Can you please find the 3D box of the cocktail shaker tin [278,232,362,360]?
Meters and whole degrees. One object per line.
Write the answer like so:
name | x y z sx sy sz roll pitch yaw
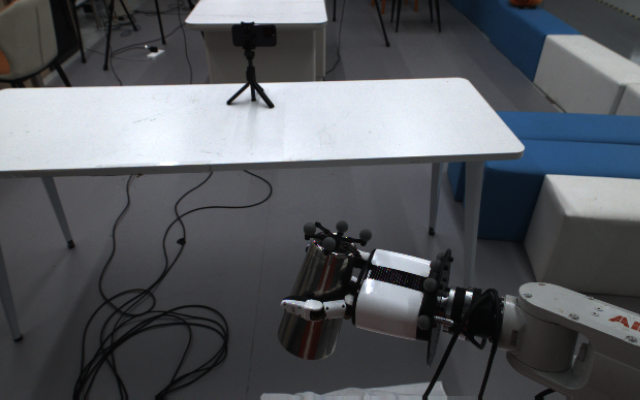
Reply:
cocktail shaker tin | 0.002 0.133 0.701 0.093 0.170 0.093 12 24 -5
